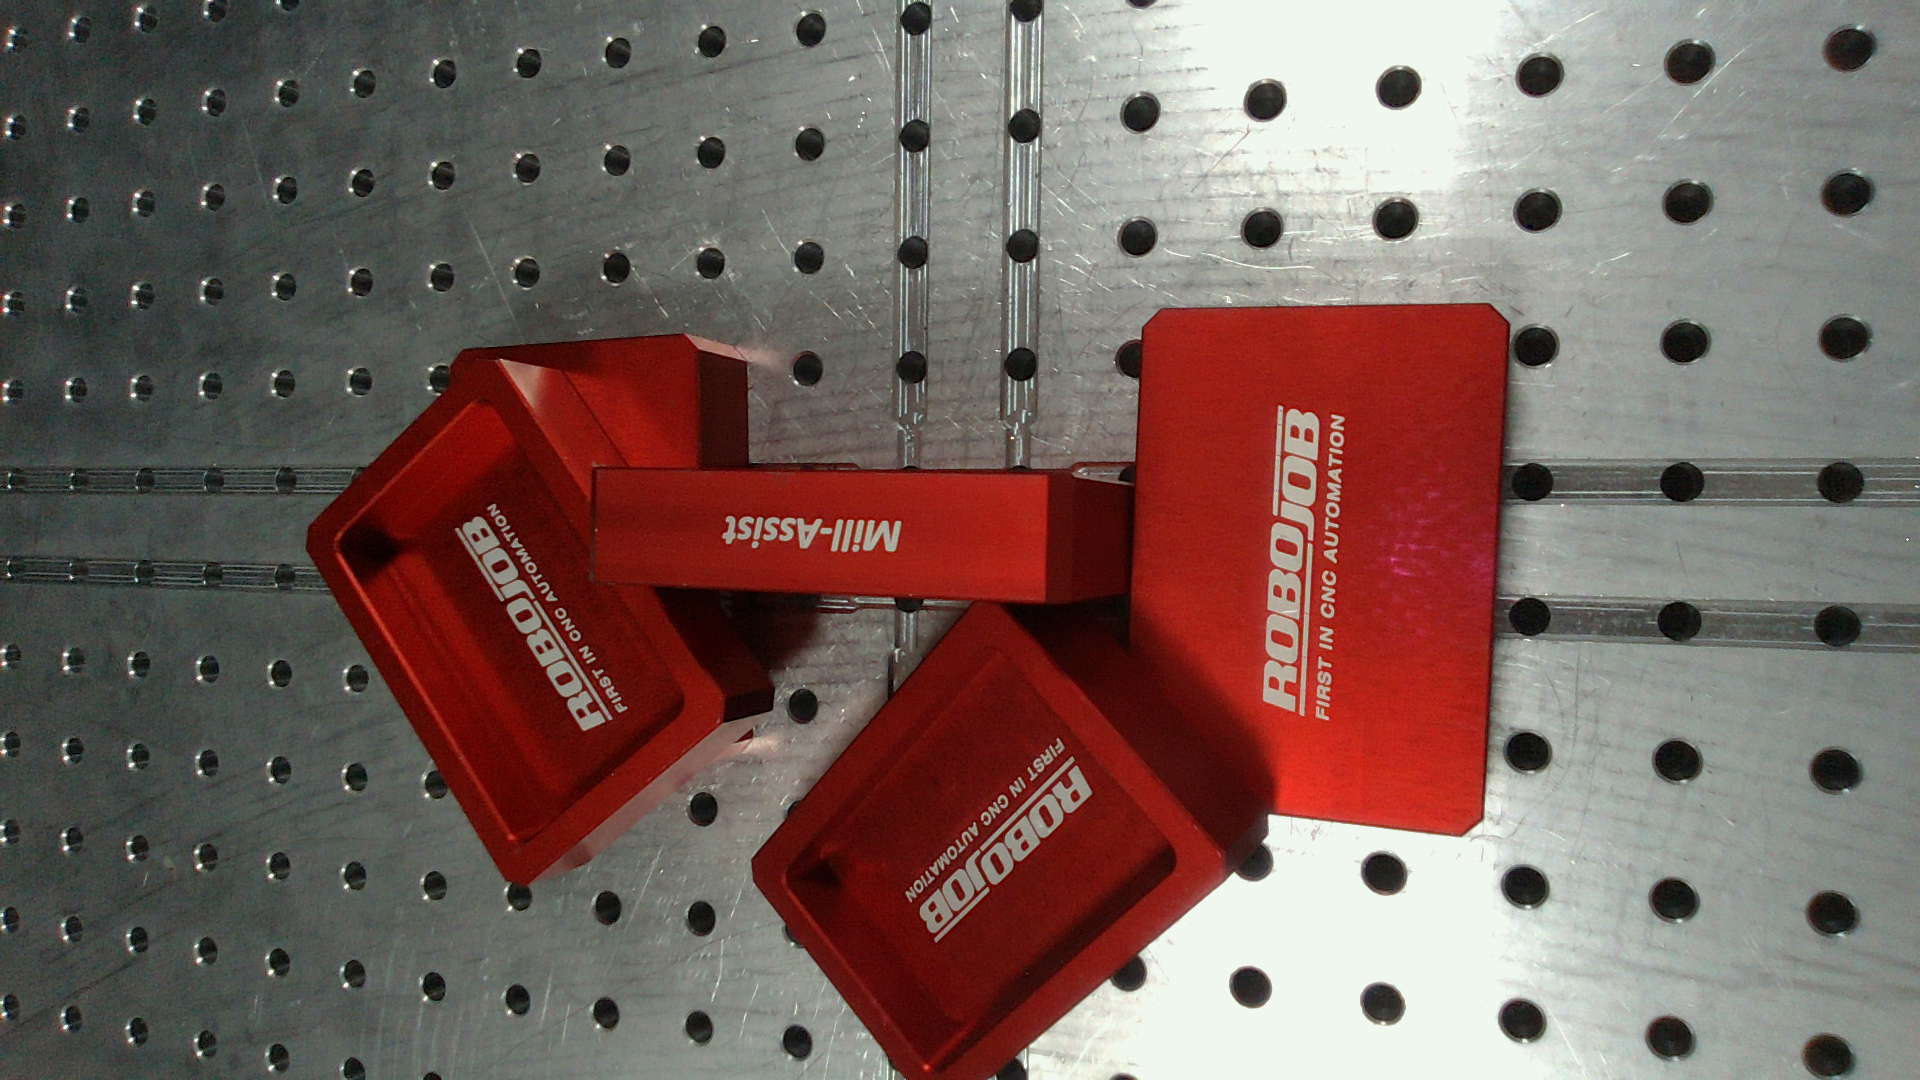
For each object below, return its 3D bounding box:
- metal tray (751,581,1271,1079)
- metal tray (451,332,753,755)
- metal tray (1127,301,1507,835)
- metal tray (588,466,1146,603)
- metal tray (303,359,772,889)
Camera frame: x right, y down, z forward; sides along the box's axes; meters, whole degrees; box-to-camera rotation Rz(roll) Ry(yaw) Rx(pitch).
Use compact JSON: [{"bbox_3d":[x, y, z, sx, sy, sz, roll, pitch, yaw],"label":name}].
[{"bbox_3d":[0.008,0.084,0.373,0.090,0.030,0.130,48,122,13],"label":"metal tray"},{"bbox_3d":[-0.114,0.004,0.437,0.090,0.030,0.130,-1,90,20],"label":"metal tray"},{"bbox_3d":[0.092,0.005,0.361,0.090,0.030,0.130,3,91,20],"label":"metal tray"},{"bbox_3d":[-0.021,-0.002,0.370,0.130,0.090,0.030,1,91,20],"label":"metal tray"},{"bbox_3d":[-0.127,0.024,0.408,0.090,0.030,0.130,-39,78,15],"label":"metal tray"}]
